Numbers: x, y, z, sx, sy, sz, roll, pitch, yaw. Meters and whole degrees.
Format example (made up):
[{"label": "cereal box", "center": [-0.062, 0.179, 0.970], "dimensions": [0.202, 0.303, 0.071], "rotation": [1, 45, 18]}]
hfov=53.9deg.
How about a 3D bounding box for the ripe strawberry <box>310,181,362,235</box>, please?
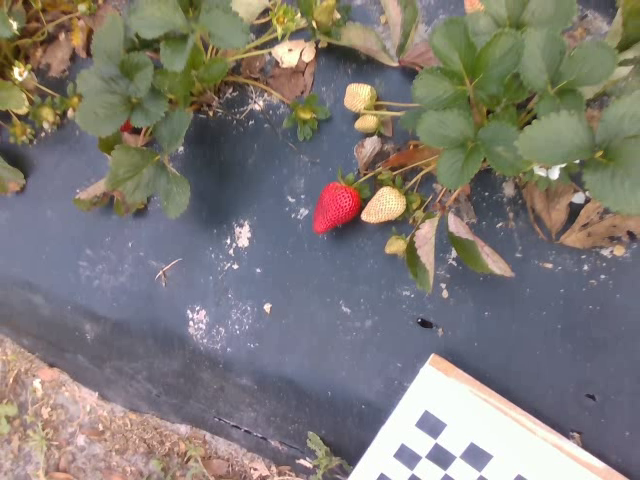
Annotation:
[{"label": "ripe strawberry", "center": [0.012, -0.030, 0.570], "dimensions": [0.050, 0.059, 0.034], "rotation": [24, -20, 22]}]
